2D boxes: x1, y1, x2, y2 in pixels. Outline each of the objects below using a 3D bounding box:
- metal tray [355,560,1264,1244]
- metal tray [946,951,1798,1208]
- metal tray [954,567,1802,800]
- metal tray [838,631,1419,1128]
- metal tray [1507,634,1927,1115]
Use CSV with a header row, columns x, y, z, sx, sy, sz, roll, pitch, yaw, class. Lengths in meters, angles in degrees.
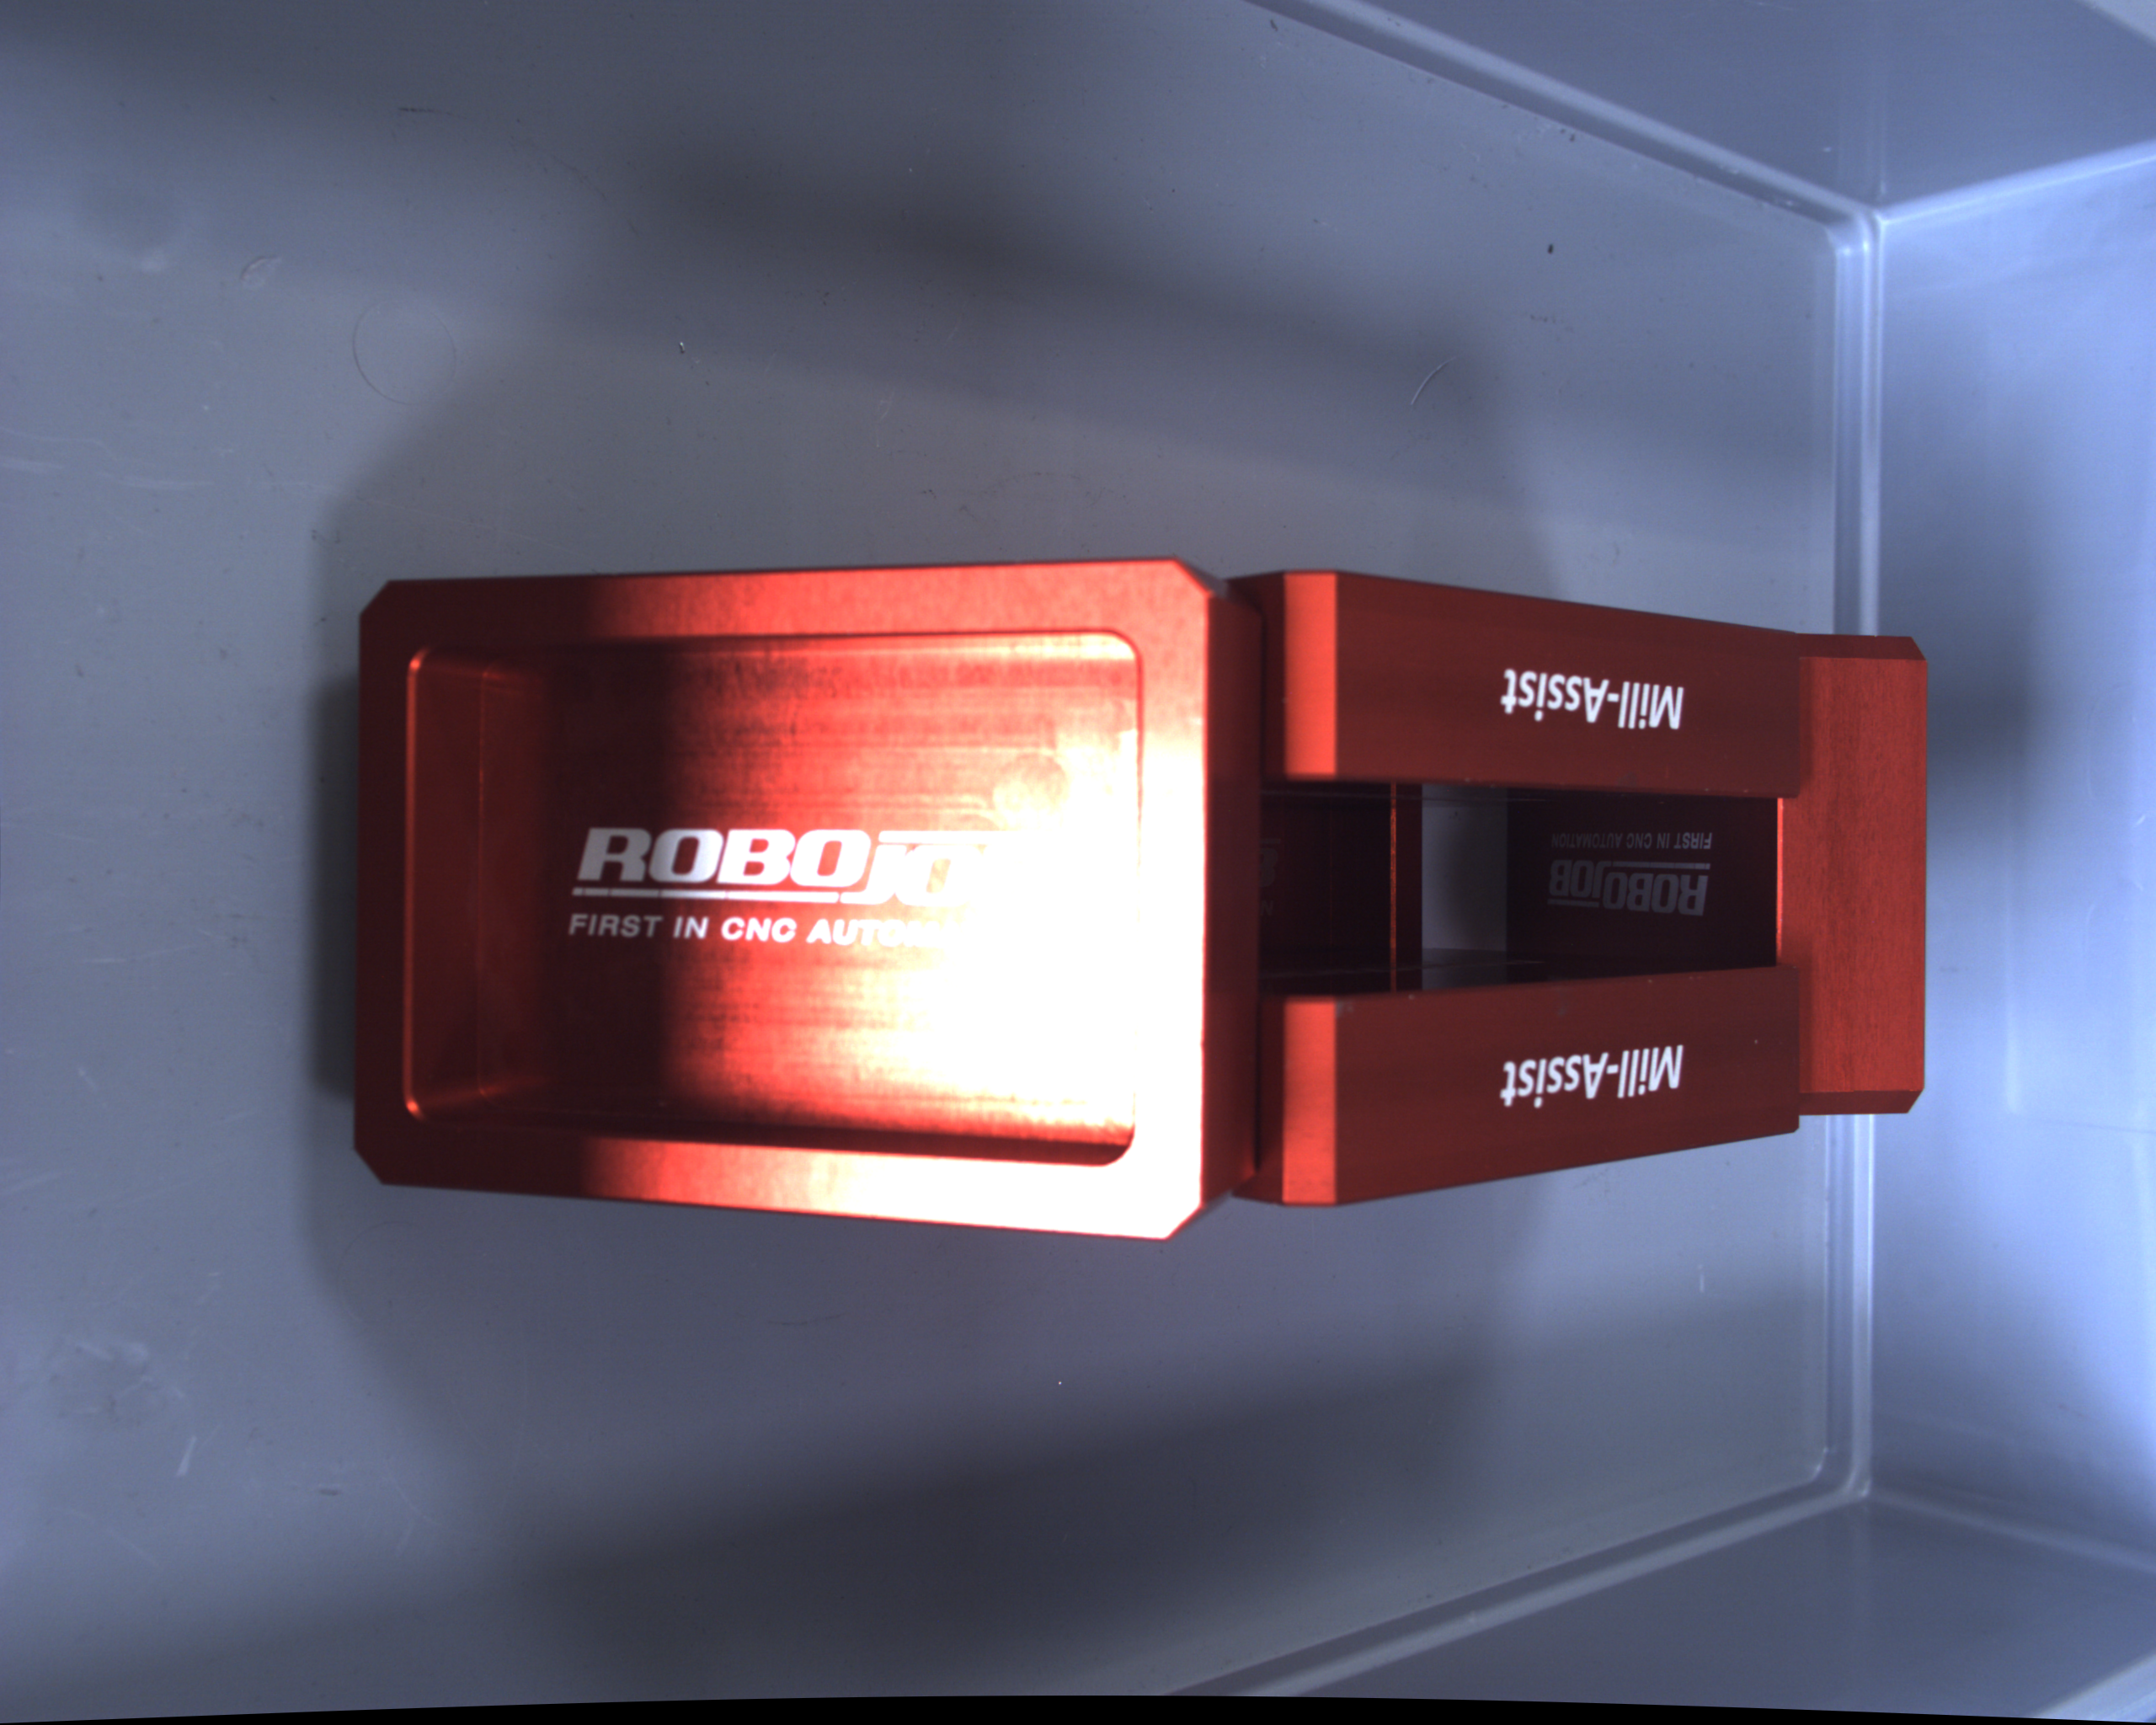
x,y,z,sx,sy,sz,roll,pitch,yaw,class
-0.041,0.004,0.304,0.030,0.130,0.089,0,91,-72,metal tray
0.053,0.034,0.367,0.131,0.090,0.030,0,90,-40,metal tray
0.054,-0.027,0.367,0.131,0.090,0.030,0,90,-40,metal tray
0.014,0.003,0.413,0.131,0.030,0.089,-1,91,-41,metal tray
0.131,0.002,0.447,0.030,0.130,0.089,1,90,-10,metal tray
